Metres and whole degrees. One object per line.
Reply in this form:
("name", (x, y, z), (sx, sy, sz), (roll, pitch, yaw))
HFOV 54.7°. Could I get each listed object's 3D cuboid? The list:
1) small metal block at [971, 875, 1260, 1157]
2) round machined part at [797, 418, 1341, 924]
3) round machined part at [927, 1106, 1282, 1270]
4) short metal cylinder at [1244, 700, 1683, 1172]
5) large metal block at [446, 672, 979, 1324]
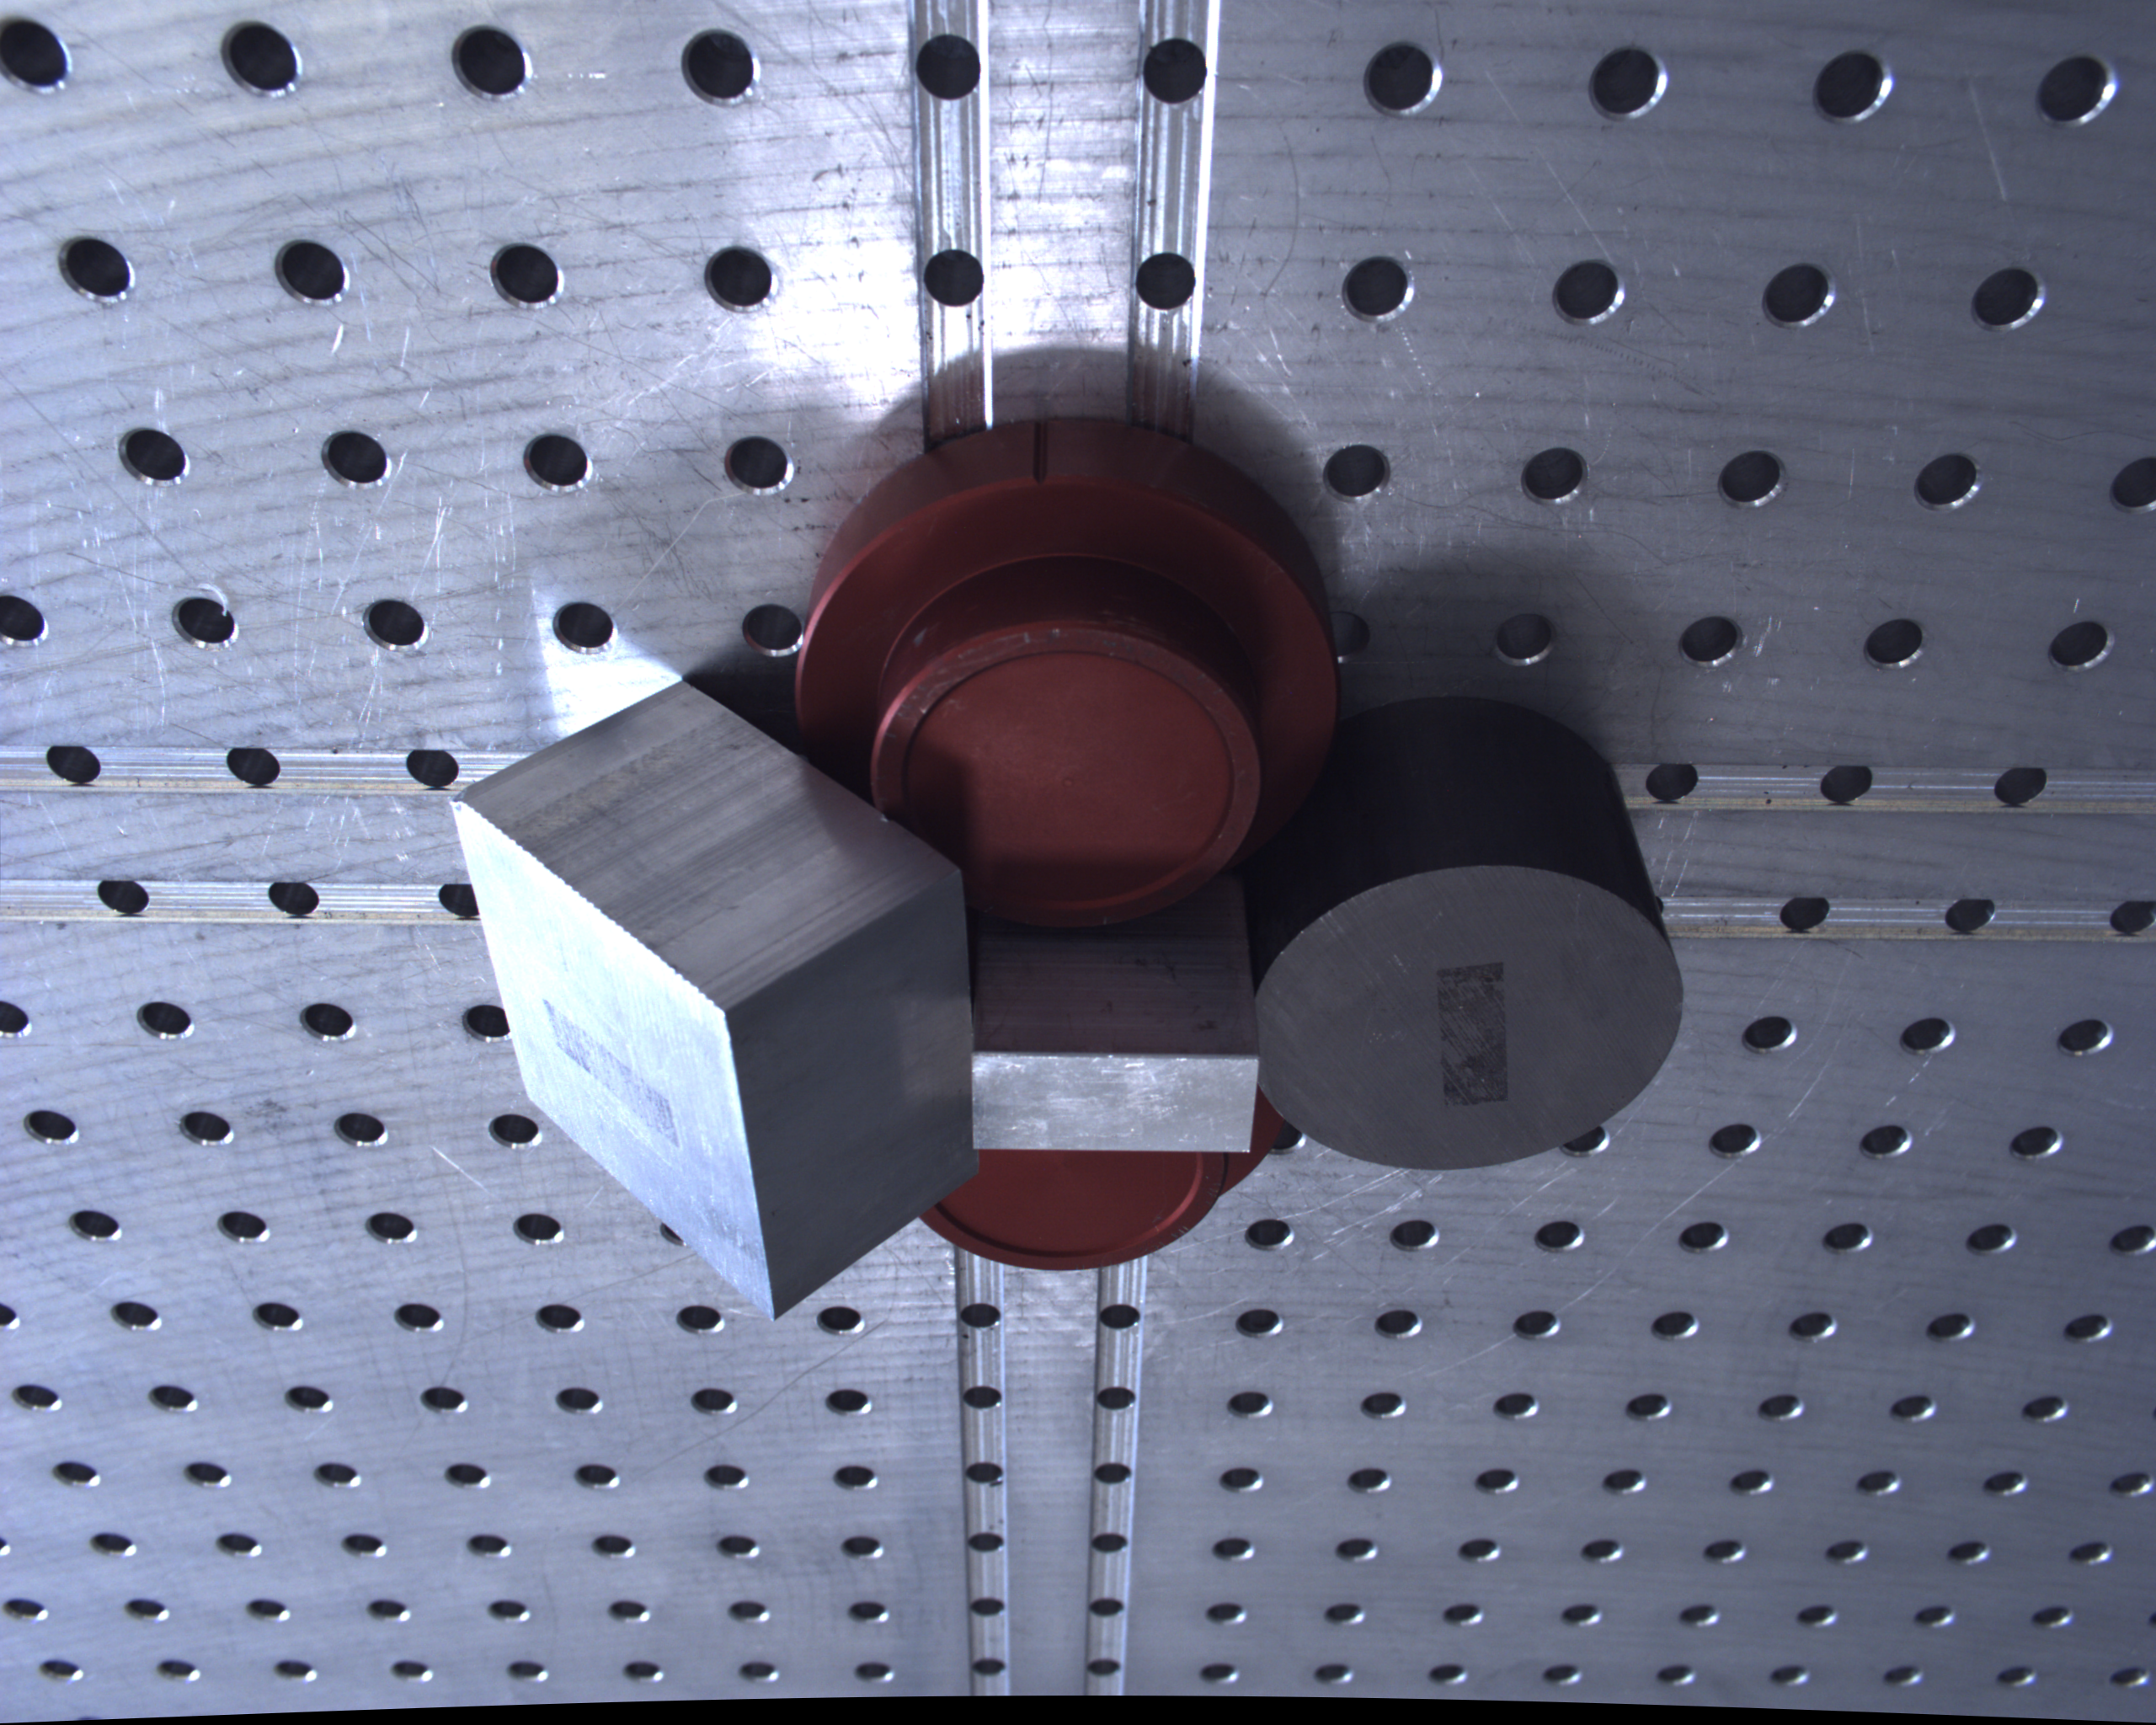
("small metal block", (0.006, 0.027, 0.390), (0.050, 0.050, 0.025), (1, 130, -1))
("round machined part", (-0.002, -0.027, 0.377), (0.099, 0.042, 0.097), (0, 130, 0))
("round machined part", (-0.003, 0.049, 0.442), (0.099, 0.042, 0.097), (0, 130, 0))
("short metal cylinder", (0.072, 0.015, 0.407), (0.081, 0.050, 0.079), (0, 130, 0))
("large metal block", (-0.066, 0.024, 0.387), (0.050, 0.080, 0.079), (-33, 140, -32))
